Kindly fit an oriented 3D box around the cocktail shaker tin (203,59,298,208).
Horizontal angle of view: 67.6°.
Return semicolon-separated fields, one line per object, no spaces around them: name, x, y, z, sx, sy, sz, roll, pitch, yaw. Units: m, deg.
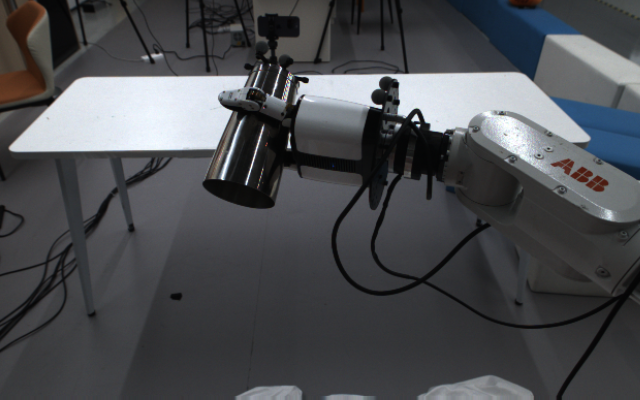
cocktail shaker tin;-0.080;-0.084;0.618;0.093;0.093;0.170;11;72;12
